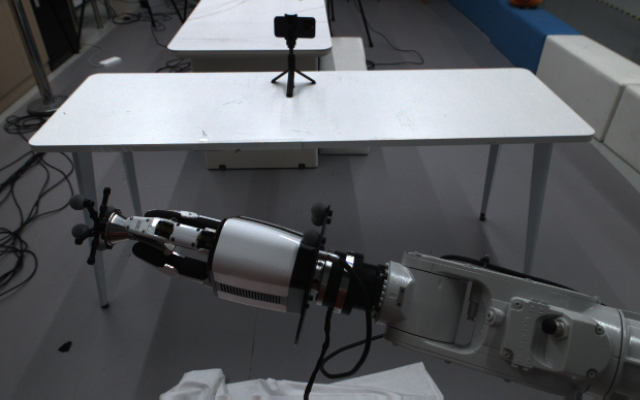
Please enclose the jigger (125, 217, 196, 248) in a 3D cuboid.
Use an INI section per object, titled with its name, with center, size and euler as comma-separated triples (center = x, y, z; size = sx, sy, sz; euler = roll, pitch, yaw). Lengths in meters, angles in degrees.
[jigger]
center = -0.193, 0.034, 0.553
size = 0.071, 0.043, 0.043
euler = 8, 35, 2
